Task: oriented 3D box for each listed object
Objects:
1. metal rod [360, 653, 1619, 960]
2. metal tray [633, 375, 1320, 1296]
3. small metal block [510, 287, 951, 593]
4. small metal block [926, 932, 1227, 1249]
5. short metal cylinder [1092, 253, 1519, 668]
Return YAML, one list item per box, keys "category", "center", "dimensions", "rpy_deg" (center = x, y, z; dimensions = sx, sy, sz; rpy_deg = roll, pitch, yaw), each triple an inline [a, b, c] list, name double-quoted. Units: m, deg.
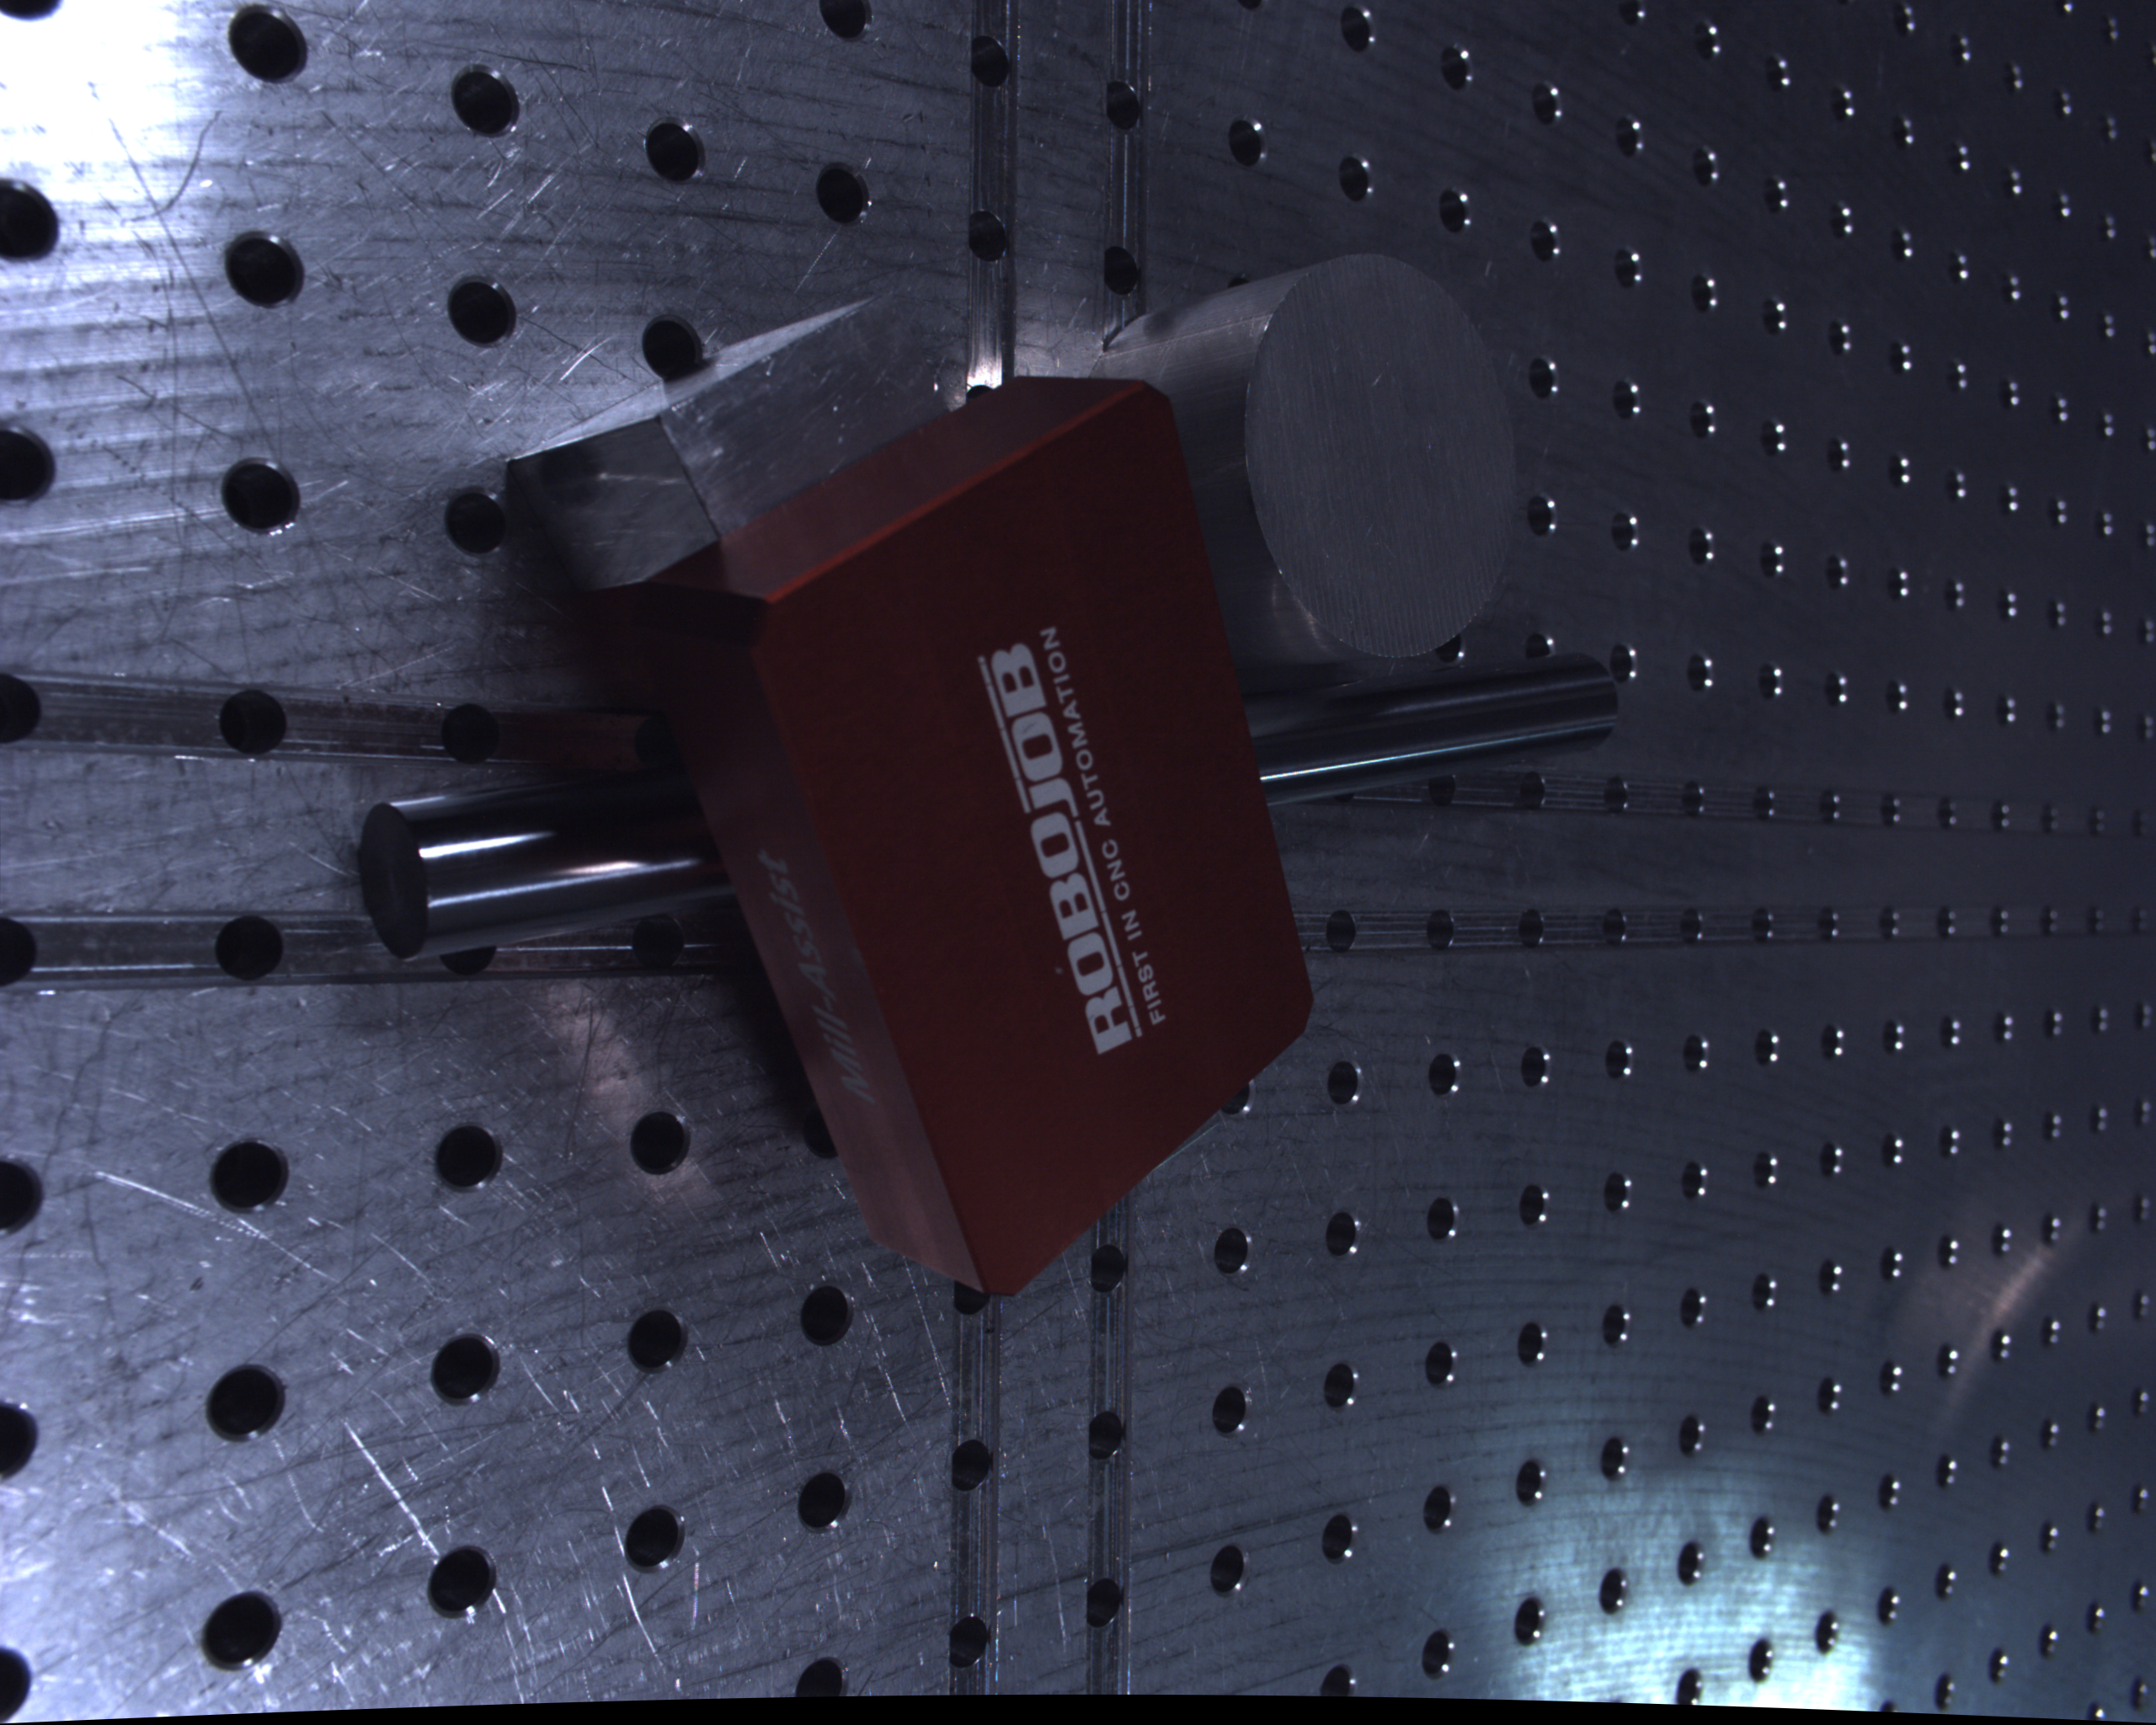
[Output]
- category: "metal rod"
  center: [0.009, -0.018, 0.419]
  dimensions: [0.302, 0.025, 0.025]
  rpy_deg: [-10, 97, -40]
- category: "metal tray"
  center: [-0.010, -0.005, 0.349]
  dimensions: [0.091, 0.030, 0.129]
  rpy_deg: [-37, 124, -33]
- category: "small metal block"
  center: [-0.057, -0.069, 0.346]
  dimensions: [0.050, 0.050, 0.025]
  rpy_deg: [-39, 114, -33]
- category: "small metal block"
  center: [-0.003, 0.040, 0.407]
  dimensions: [0.050, 0.025, 0.050]
  rpy_deg: [-30, 109, -36]
- category: "short metal cylinder"
  center: [0.046, -0.081, 0.433]
  dimensions: [0.081, 0.050, 0.079]
  rpy_deg: [0, 90, -40]
